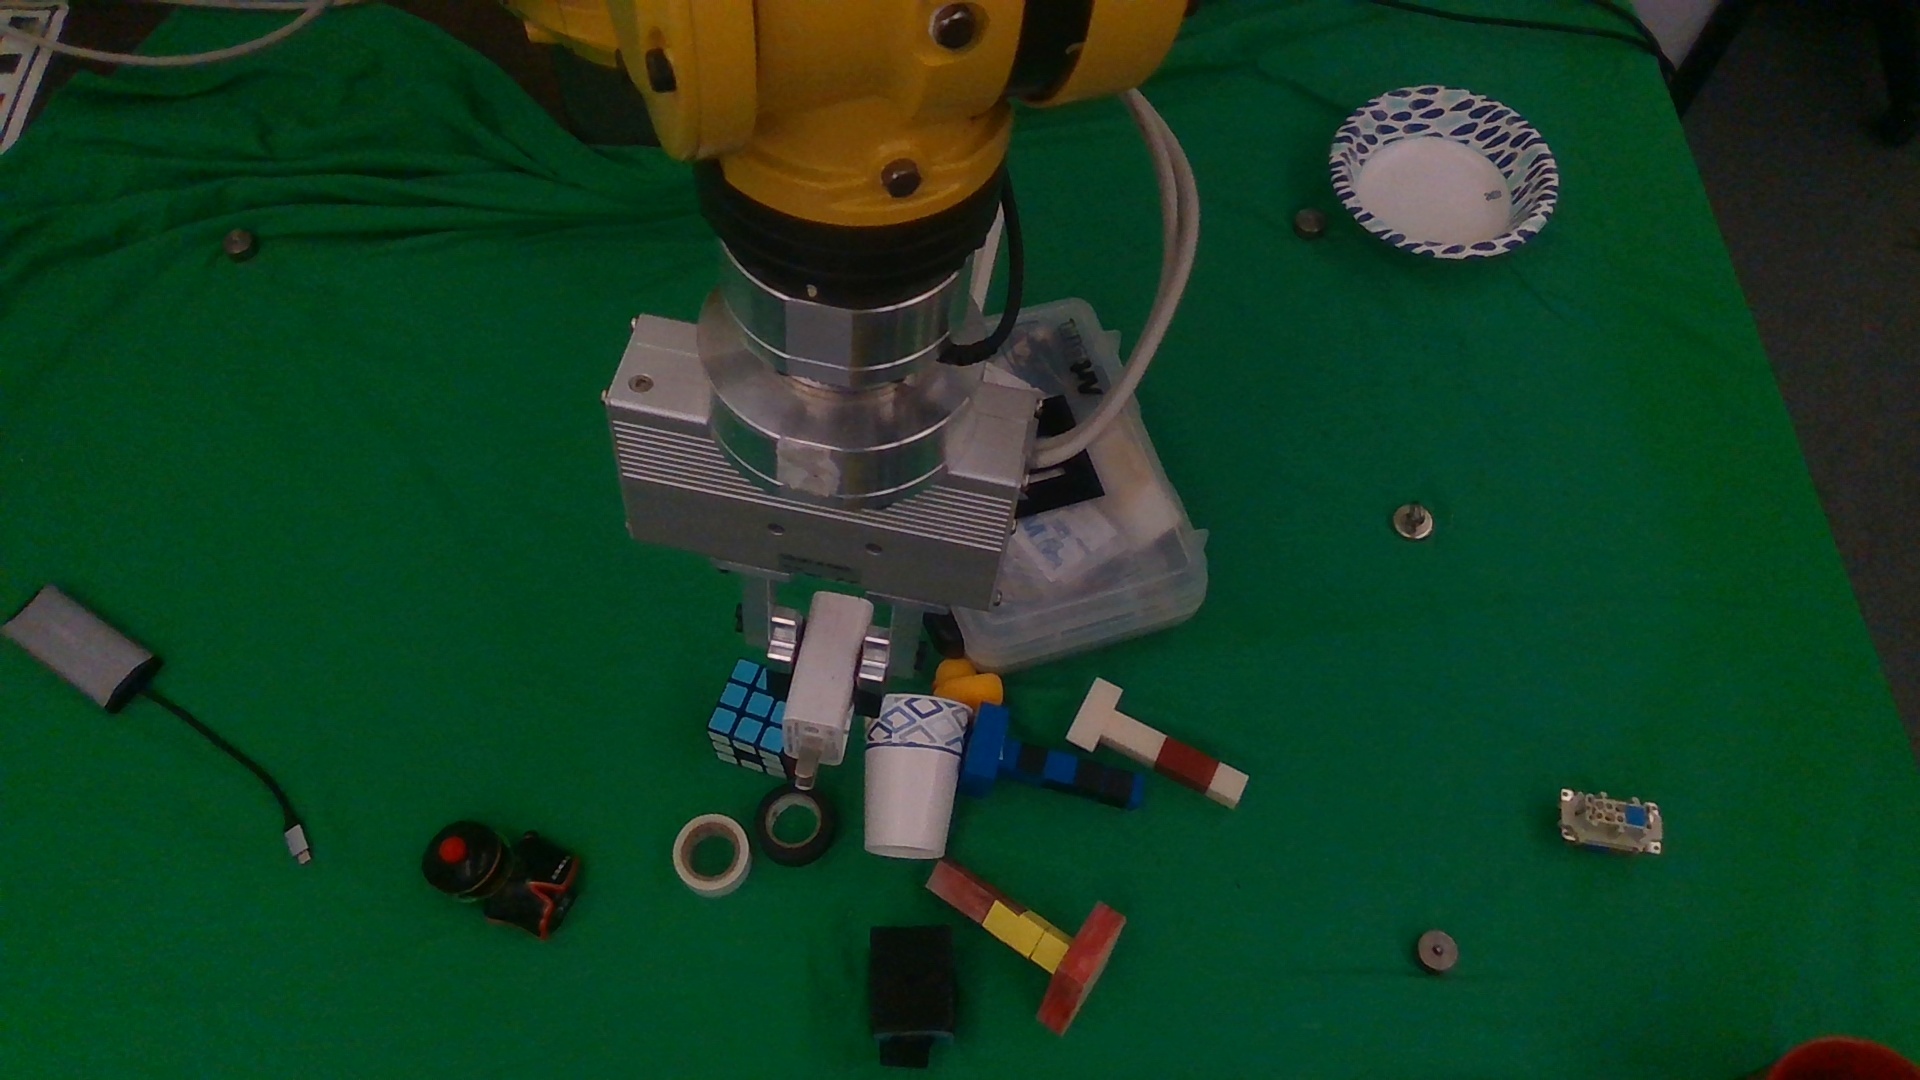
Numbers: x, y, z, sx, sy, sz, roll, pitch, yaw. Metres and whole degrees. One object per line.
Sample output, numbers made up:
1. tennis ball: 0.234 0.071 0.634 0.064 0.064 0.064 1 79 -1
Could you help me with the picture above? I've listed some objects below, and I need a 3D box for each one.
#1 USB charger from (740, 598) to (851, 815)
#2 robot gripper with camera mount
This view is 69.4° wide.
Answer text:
1. USB charger: -0.062 0.062 0.510 0.029 0.044 0.075 12 60 3
2. robot gripper with camera mount: -0.034 -0.045 0.510 0.119 0.158 0.193 14 51 4
